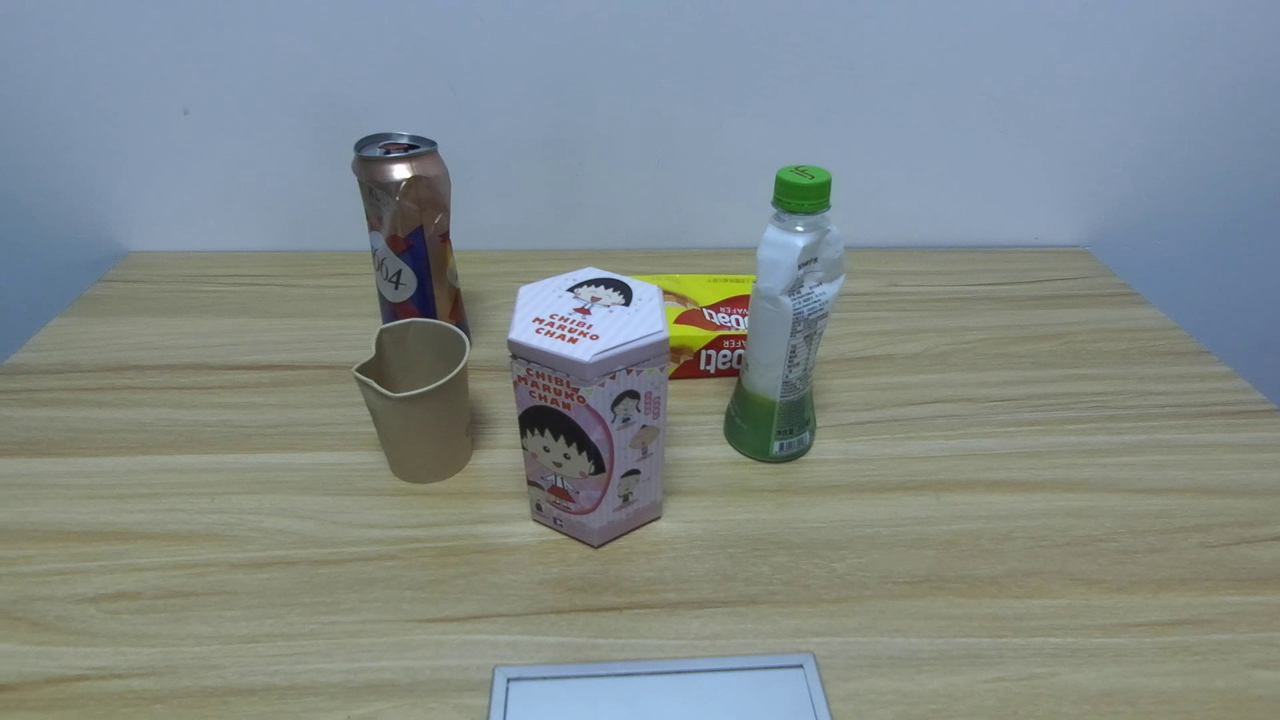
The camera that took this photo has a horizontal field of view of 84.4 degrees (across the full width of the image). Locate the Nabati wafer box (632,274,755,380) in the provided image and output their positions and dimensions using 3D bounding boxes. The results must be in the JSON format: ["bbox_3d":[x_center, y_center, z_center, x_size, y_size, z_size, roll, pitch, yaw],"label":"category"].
[{"bbox_3d":[0.030,-0.028,0.563,0.203,0.042,0.096,-2,33,-3],"label":"Nabati wafer box"}]

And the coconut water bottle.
[{"bbox_3d":[0.090,-0.025,0.436,0.067,0.187,0.067,0,35,1],"label":"coconut water bottle"}]

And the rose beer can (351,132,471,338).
[{"bbox_3d":[-0.164,-0.077,0.522,0.065,0.167,0.075,-13,35,-23],"label":"rose beer can"}]

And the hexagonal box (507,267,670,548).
[{"bbox_3d":[-0.027,0.029,0.404,0.091,0.136,0.084,17,38,21],"label":"hexagonal box"}]

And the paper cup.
[{"bbox_3d":[-0.138,0.028,0.449,0.073,0.081,0.069,22,40,26],"label":"paper cup"}]
